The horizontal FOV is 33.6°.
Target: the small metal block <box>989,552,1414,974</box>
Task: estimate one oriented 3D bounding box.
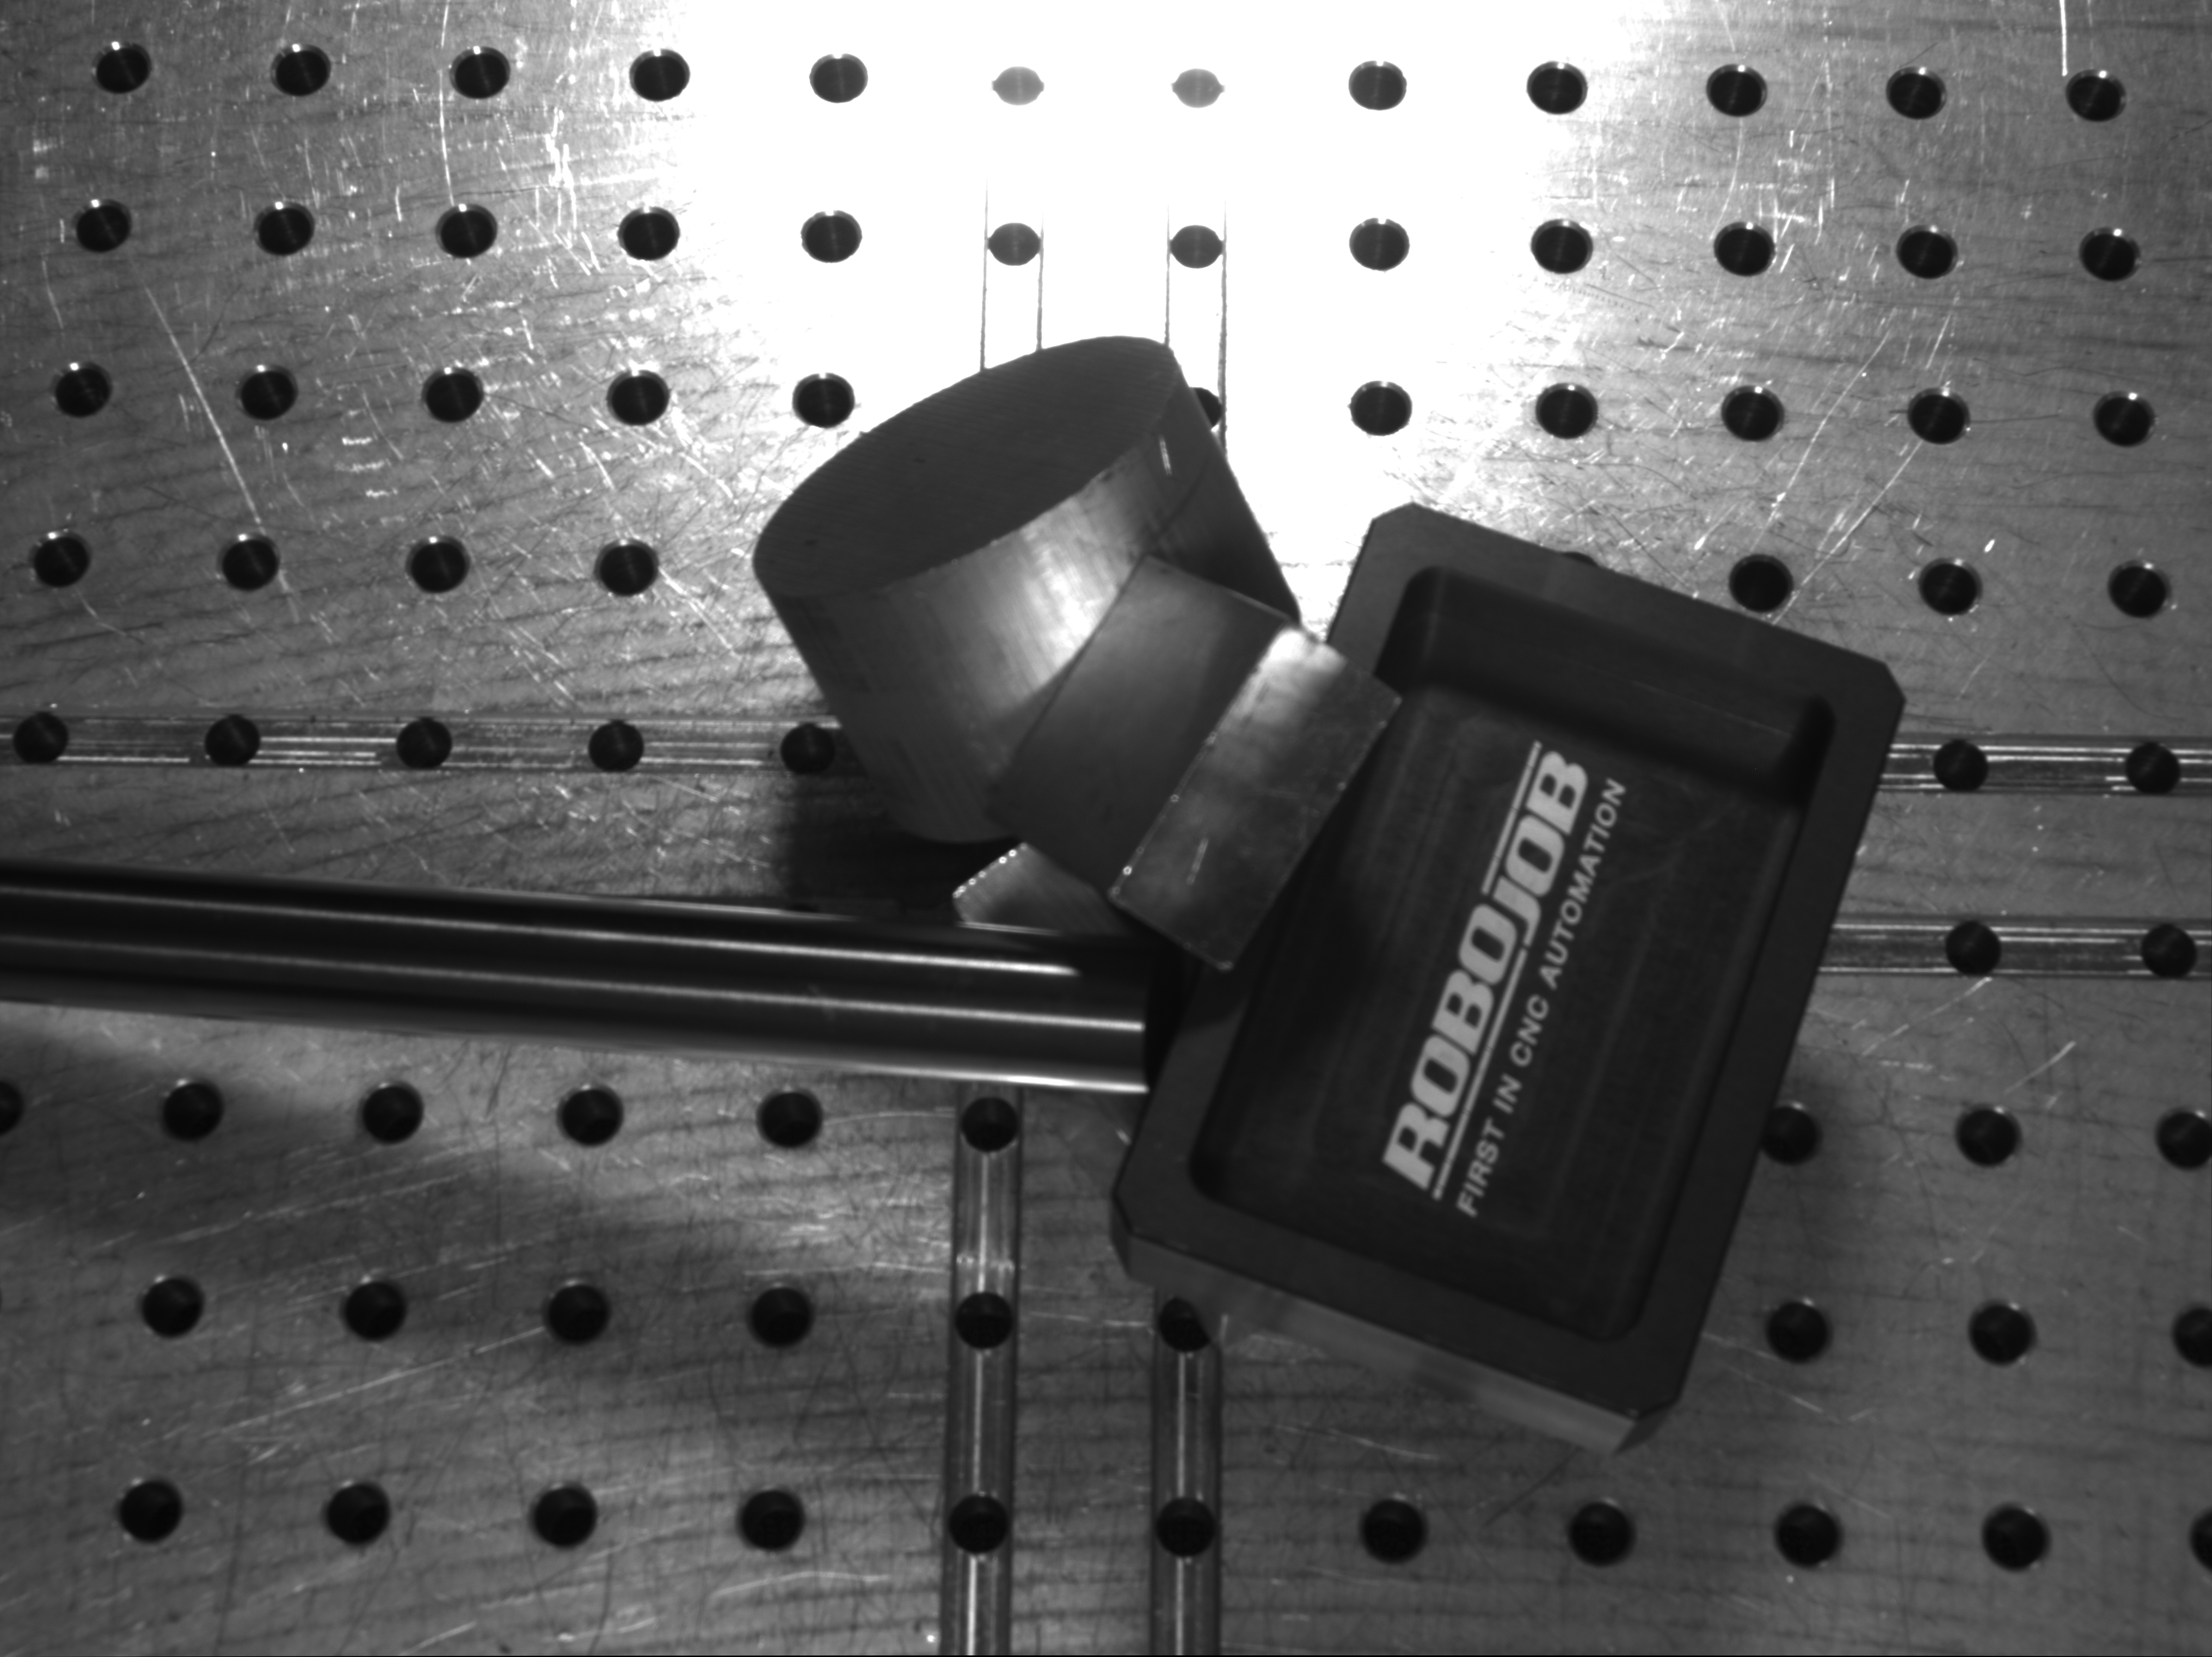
[{"bbox_3d":[0.014,-0.011,0.574,0.025,0.050,0.050,33,90,-29],"label":"small metal block"}]

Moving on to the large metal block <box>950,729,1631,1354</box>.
[{"bbox_3d":[0.030,0.029,0.622,0.080,0.050,0.080,-33,73,-11],"label":"large metal block"}]

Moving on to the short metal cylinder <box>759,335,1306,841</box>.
[{"bbox_3d":[-0.012,-0.042,0.627,0.080,0.080,0.050,-33,116,-11],"label":"short metal cylinder"}]

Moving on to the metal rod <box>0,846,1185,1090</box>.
[{"bbox_3d":[-0.136,0.019,0.609,0.300,0.025,0.025,4,69,13],"label":"metal rod"}]

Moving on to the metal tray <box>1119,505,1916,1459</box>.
[{"bbox_3d":[0.065,0.023,0.580,0.090,0.030,0.130,19,71,7],"label":"metal tray"}]
